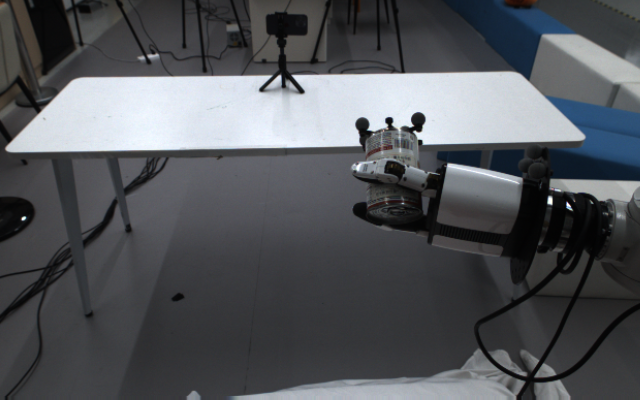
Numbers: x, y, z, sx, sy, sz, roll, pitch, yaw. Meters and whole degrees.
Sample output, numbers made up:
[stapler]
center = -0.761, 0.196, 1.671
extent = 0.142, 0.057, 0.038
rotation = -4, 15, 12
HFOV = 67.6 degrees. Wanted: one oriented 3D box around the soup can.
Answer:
[soup can]
center = 0.090, -0.029, 0.591
extent = 0.067, 0.067, 0.101
rotation = 2, 68, -1
